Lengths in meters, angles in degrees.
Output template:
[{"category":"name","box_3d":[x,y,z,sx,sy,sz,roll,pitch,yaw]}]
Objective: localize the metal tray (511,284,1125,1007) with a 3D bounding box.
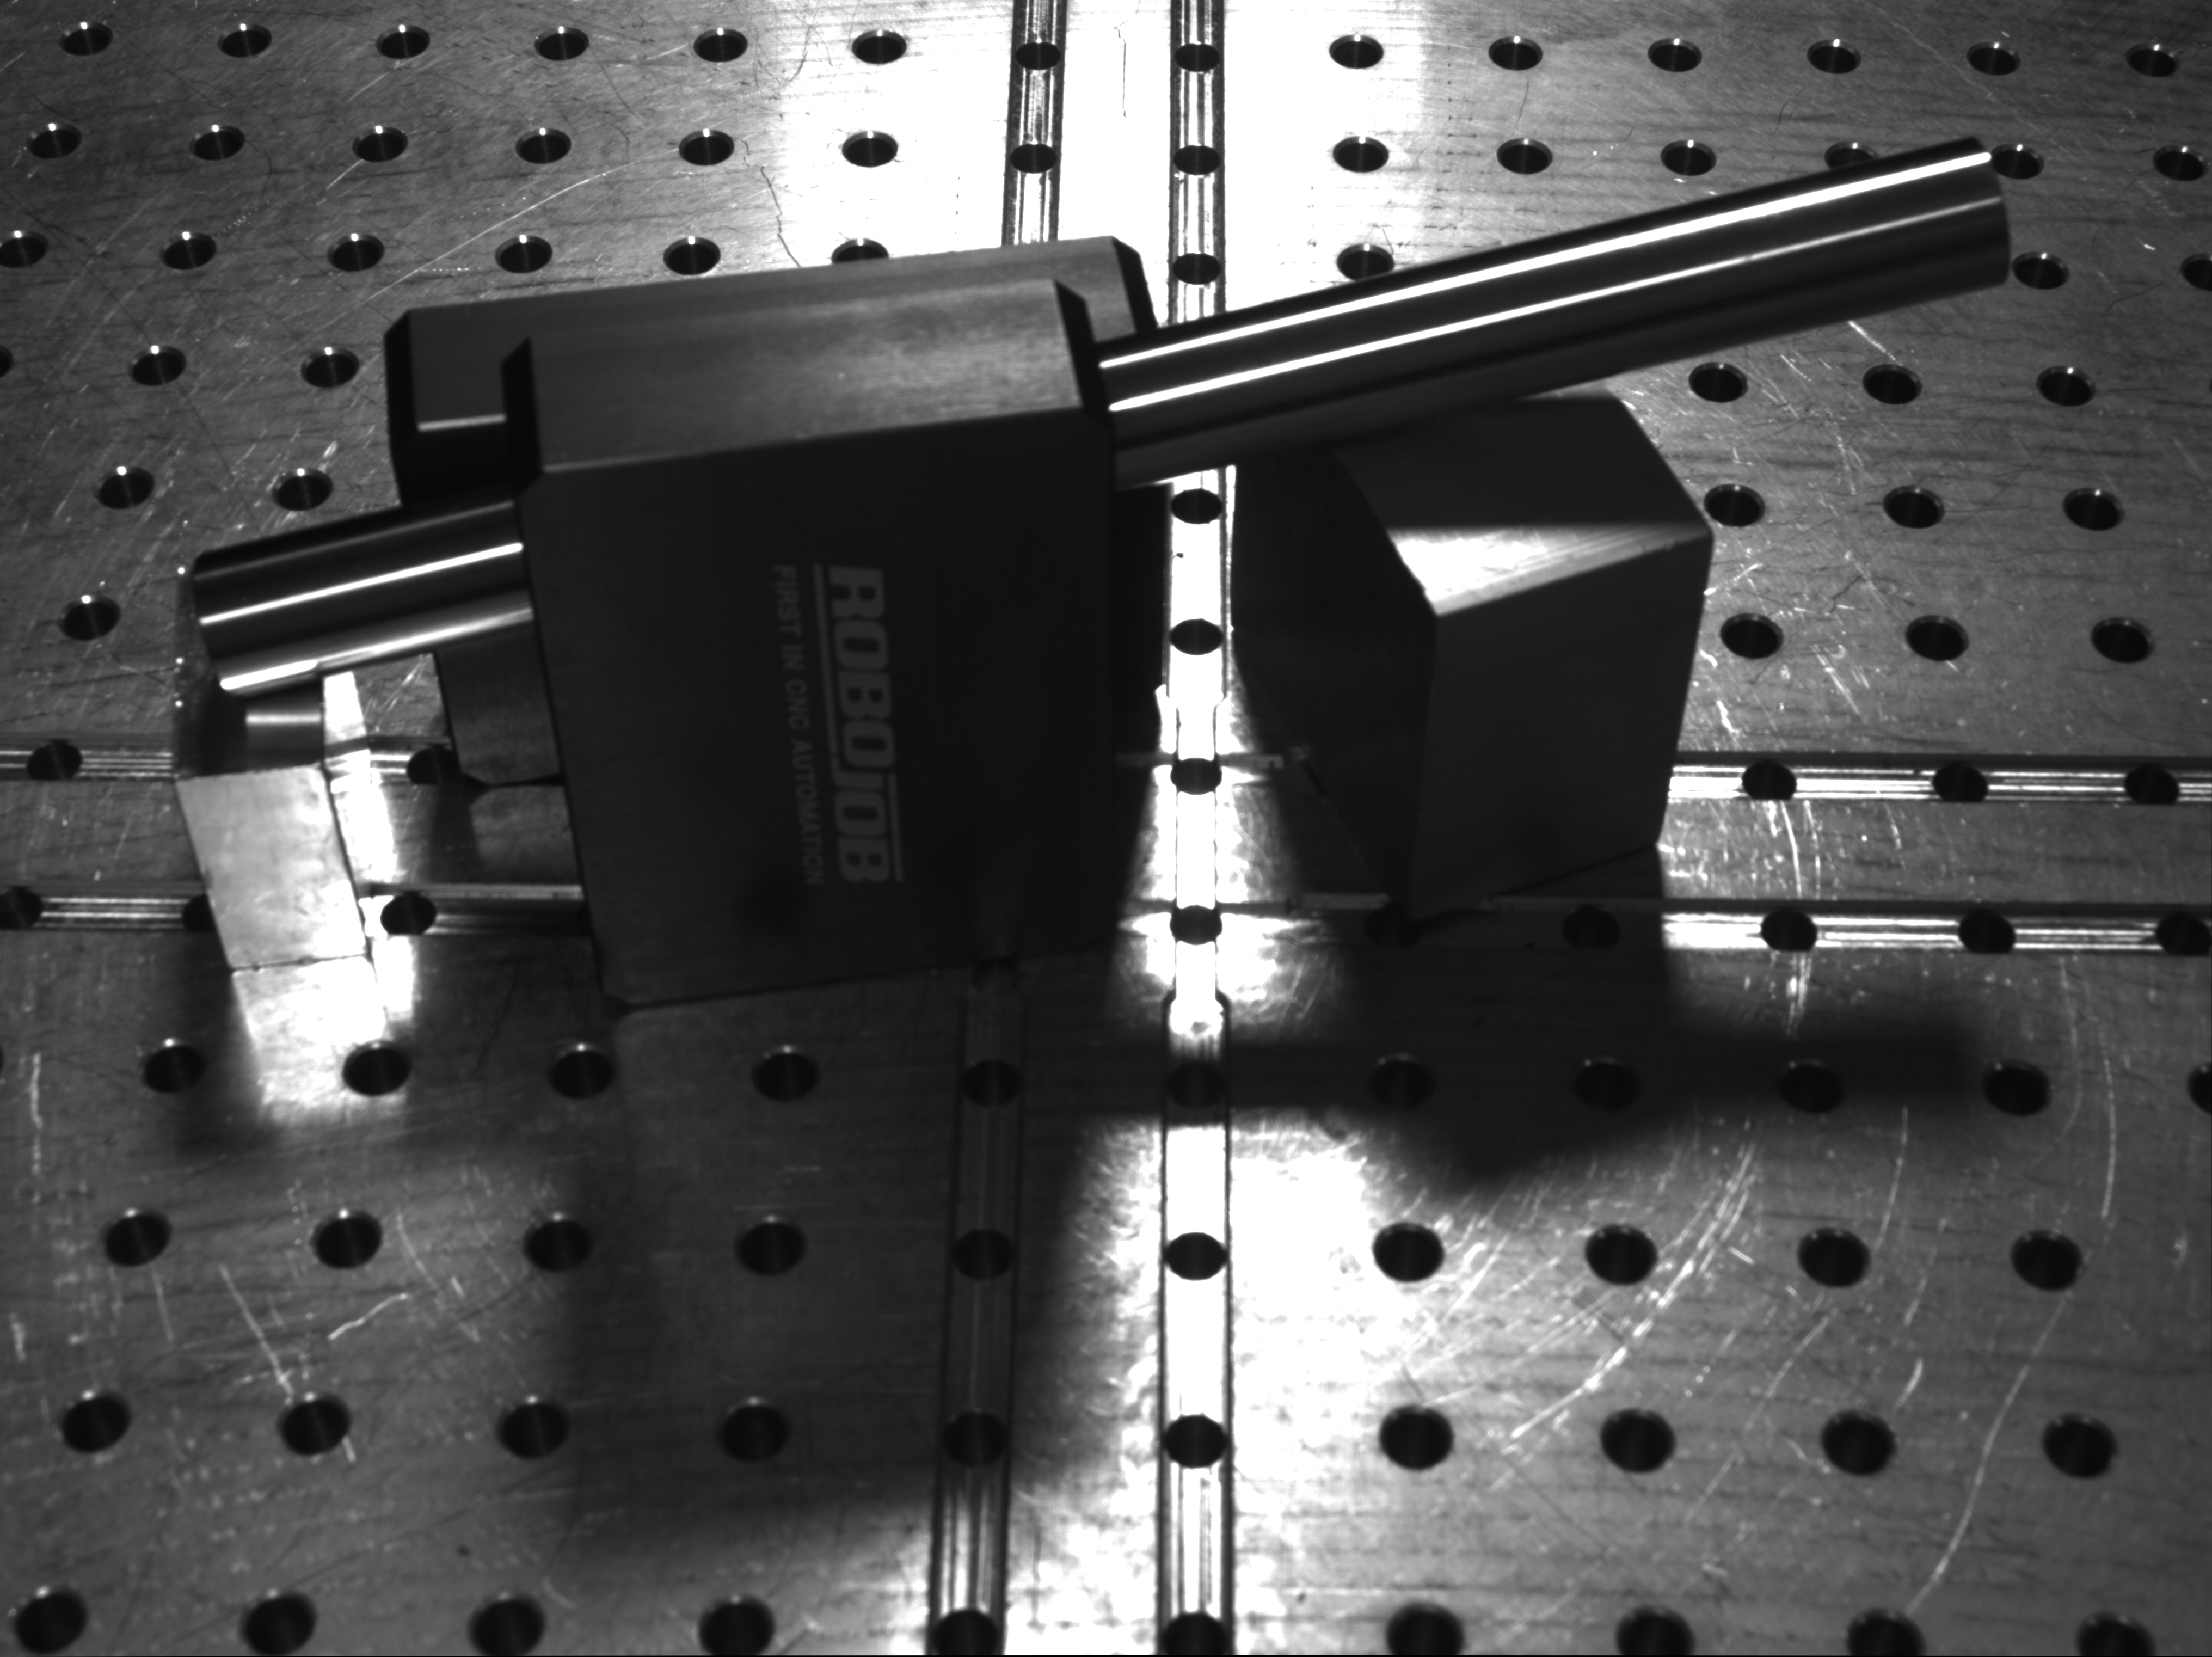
[{"category":"metal tray","box_3d":[-0.044,-0.026,0.599,0.090,0.130,0.030,-7,51,-6]}]

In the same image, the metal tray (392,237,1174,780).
[{"category":"metal tray","box_3d":[-0.054,-0.055,0.648,0.130,0.090,0.030,-7,51,-6]}]

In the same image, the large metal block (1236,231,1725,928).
[{"category":"large metal block","box_3d":[0.063,-0.044,0.645,0.050,0.080,0.080,-17,52,-14]}]

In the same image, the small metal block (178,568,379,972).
[{"category":"small metal block","box_3d":[-0.144,-0.011,0.638,0.025,0.050,0.050,-6,50,-5]}]

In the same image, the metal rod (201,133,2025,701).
[{"category":"metal rod","box_3d":[0.001,-0.067,0.603,0.300,0.025,0.025,-13,50,1]}]
